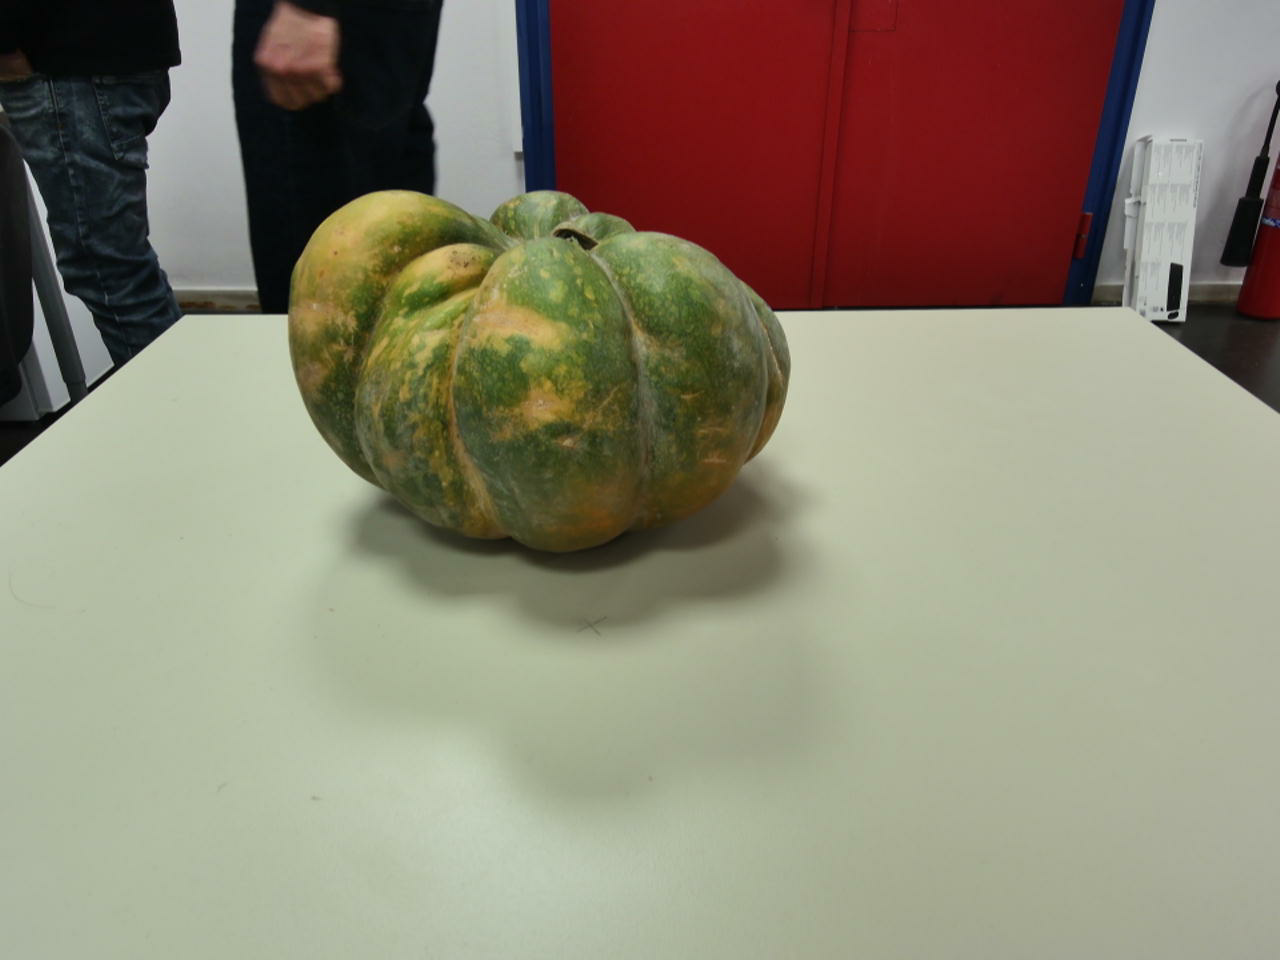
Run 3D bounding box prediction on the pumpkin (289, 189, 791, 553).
[{"bbox_3d":[-0.051,-0.068,0.534,0.270,0.173,0.237,18,31,33],"label":"pumpkin"}]
